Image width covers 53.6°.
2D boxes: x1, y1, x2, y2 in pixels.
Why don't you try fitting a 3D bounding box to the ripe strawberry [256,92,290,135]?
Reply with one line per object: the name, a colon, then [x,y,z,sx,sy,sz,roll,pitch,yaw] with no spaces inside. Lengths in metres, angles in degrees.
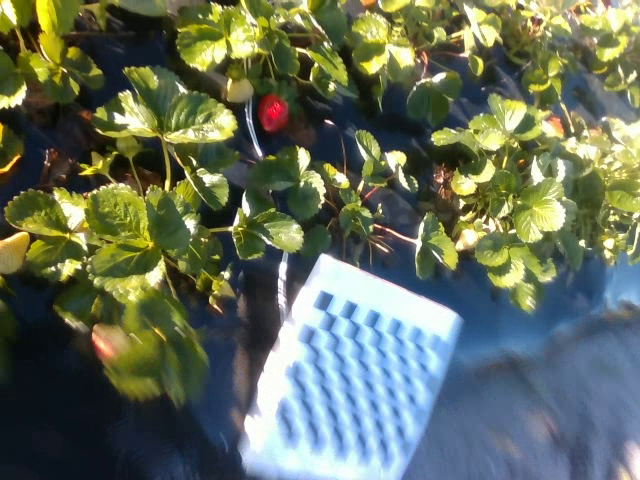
ripe strawberry: [-0.064,-0.186,0.927,0.040,0.080,0.063,-8,-47,23]
